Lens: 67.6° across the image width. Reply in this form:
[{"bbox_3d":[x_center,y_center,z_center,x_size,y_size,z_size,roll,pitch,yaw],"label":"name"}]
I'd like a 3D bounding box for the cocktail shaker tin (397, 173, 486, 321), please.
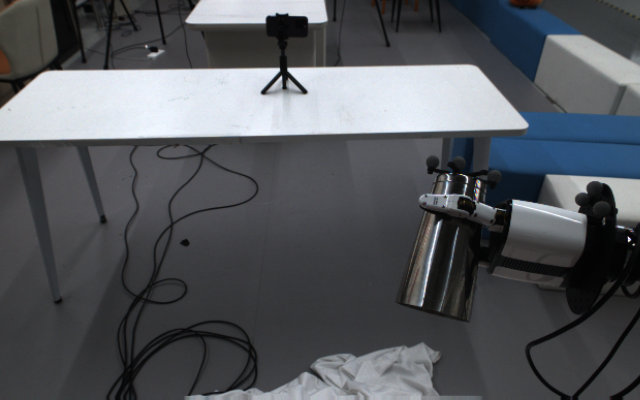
[{"bbox_3d":[0.162,0.054,0.609,0.093,0.093,0.170,13,77,15],"label":"cocktail shaker tin"}]
